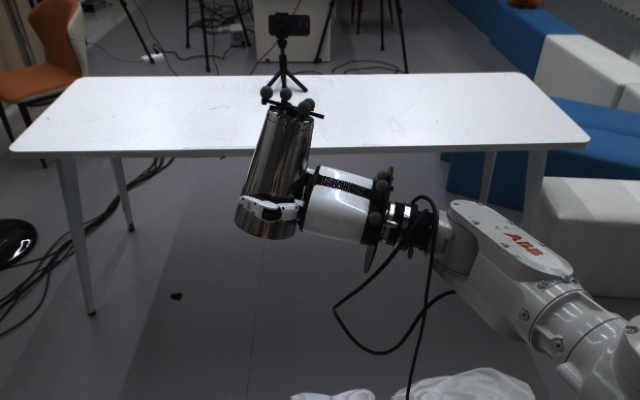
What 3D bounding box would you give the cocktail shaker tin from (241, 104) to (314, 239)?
[{"bbox_3d":[-0.060,-0.040,0.687,0.093,0.170,0.093,14,20,-5],"label":"cocktail shaker tin"}]
